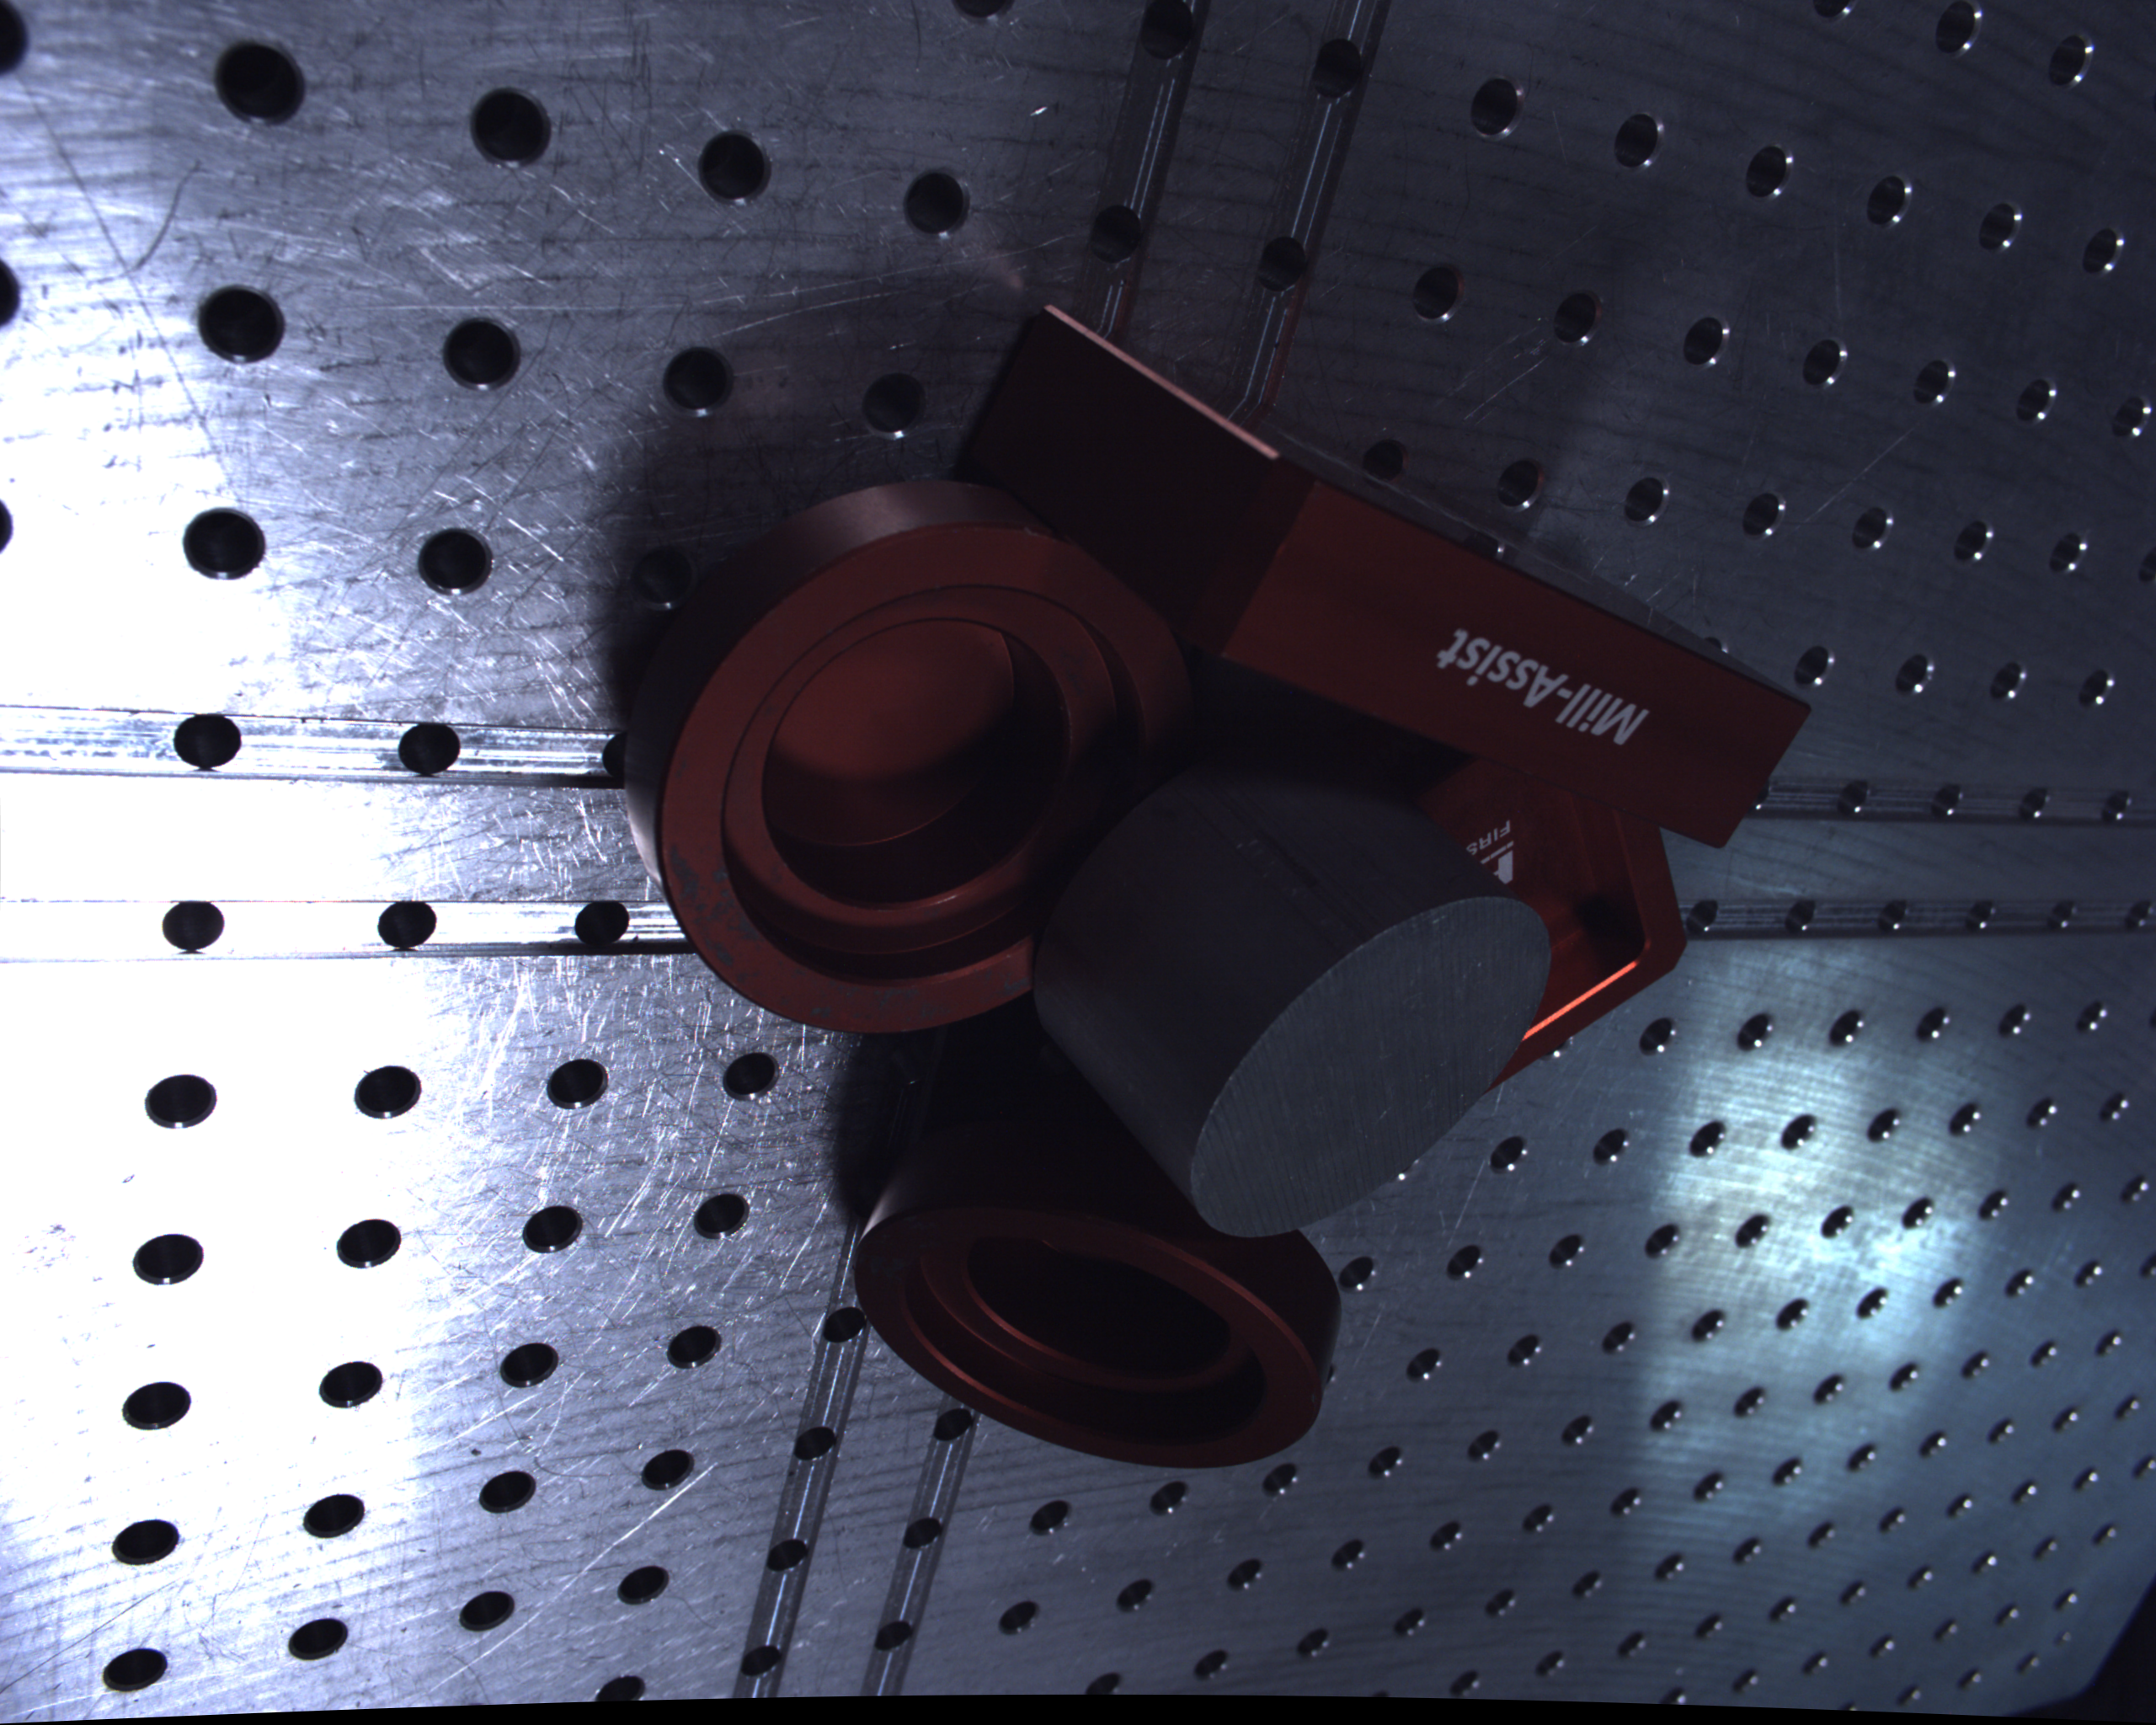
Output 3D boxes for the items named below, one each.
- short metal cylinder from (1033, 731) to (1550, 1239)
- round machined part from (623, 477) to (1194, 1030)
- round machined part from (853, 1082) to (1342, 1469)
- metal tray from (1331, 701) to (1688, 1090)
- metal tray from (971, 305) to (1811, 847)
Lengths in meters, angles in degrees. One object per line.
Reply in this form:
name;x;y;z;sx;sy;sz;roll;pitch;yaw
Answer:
short metal cylinder;0.039;0.023;0.384;0.081;0.050;0.080;-26;141;-23
round machined part;-0.032;-0.022;0.370;0.099;0.042;0.097;-14;125;-21
round machined part;0.007;0.083;0.434;0.098;0.042;0.097;12;139;11
metal tray;0.066;0.018;0.456;0.131;0.030;0.090;-32;129;-8
metal tray;0.056;-0.050;0.370;0.131;0.090;0.030;16;110;-35
